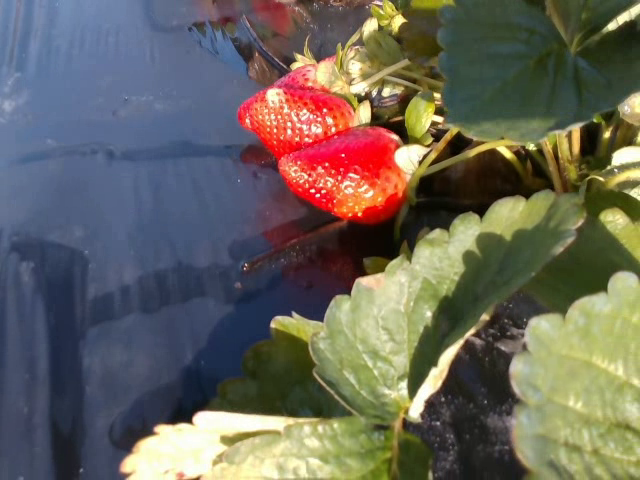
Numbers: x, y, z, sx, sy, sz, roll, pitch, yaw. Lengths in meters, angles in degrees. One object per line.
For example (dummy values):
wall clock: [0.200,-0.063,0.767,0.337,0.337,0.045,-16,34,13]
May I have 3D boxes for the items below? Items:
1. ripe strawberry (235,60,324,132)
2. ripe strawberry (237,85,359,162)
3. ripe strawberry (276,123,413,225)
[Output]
ripe strawberry: [-0.011,-0.054,0.233,0.045,0.023,0.032,-18,41,-4]
ripe strawberry: [-0.006,-0.041,0.207,0.039,0.031,0.036,28,-56,-29]
ripe strawberry: [0.003,-0.021,0.188,0.041,0.034,0.035,10,31,-28]
